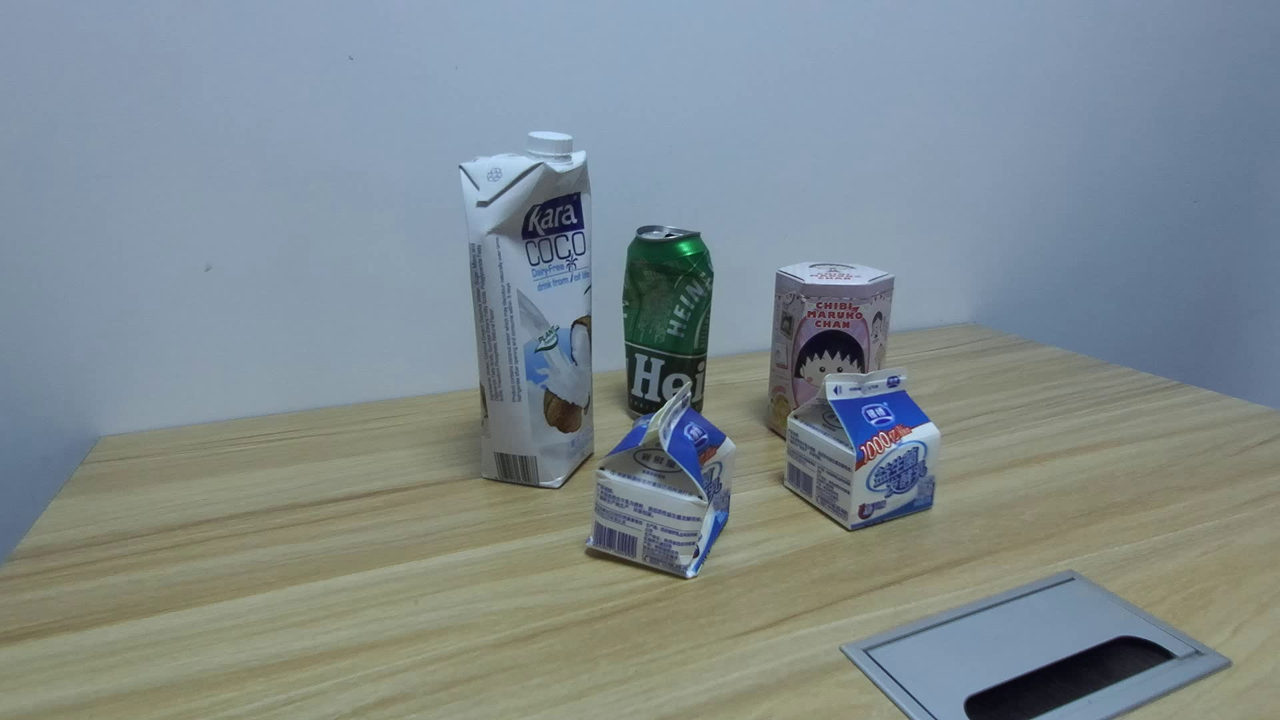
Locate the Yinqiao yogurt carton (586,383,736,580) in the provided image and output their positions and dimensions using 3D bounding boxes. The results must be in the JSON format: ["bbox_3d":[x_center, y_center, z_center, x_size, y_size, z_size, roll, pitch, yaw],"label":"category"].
[{"bbox_3d":[0.015,0.065,0.418,0.071,0.094,0.077,11,21,20],"label":"Yinqiao yogurt carton"}]

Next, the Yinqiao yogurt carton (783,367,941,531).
[{"bbox_3d":[0.148,0.050,0.470,0.076,0.092,0.073,-7,18,-25],"label":"Yinqiao yogurt carton"}]

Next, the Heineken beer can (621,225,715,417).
[{"bbox_3d":[0.022,-0.029,0.602,0.066,0.164,0.077,-4,20,-10],"label":"Heineken beer can"}]

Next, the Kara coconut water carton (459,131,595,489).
[{"bbox_3d":[-0.073,-0.033,0.497,0.069,0.238,0.115,7,18,19],"label":"Kara coconut water carton"}]

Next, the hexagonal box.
[{"bbox_3d":[0.151,-0.004,0.567,0.091,0.136,0.084,3,17,9],"label":"hexagonal box"}]
